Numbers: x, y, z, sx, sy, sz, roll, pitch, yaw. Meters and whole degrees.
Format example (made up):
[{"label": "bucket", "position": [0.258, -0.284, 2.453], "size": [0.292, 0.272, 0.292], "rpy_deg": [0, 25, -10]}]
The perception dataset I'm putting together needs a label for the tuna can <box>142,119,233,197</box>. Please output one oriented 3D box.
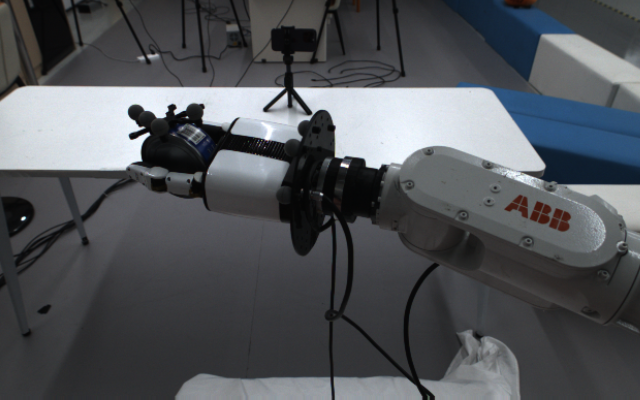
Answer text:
[{"label": "tuna can", "position": [-0.155, -0.046, 0.551], "size": [0.085, 0.085, 0.034], "rpy_deg": [14, 39, 16]}]
